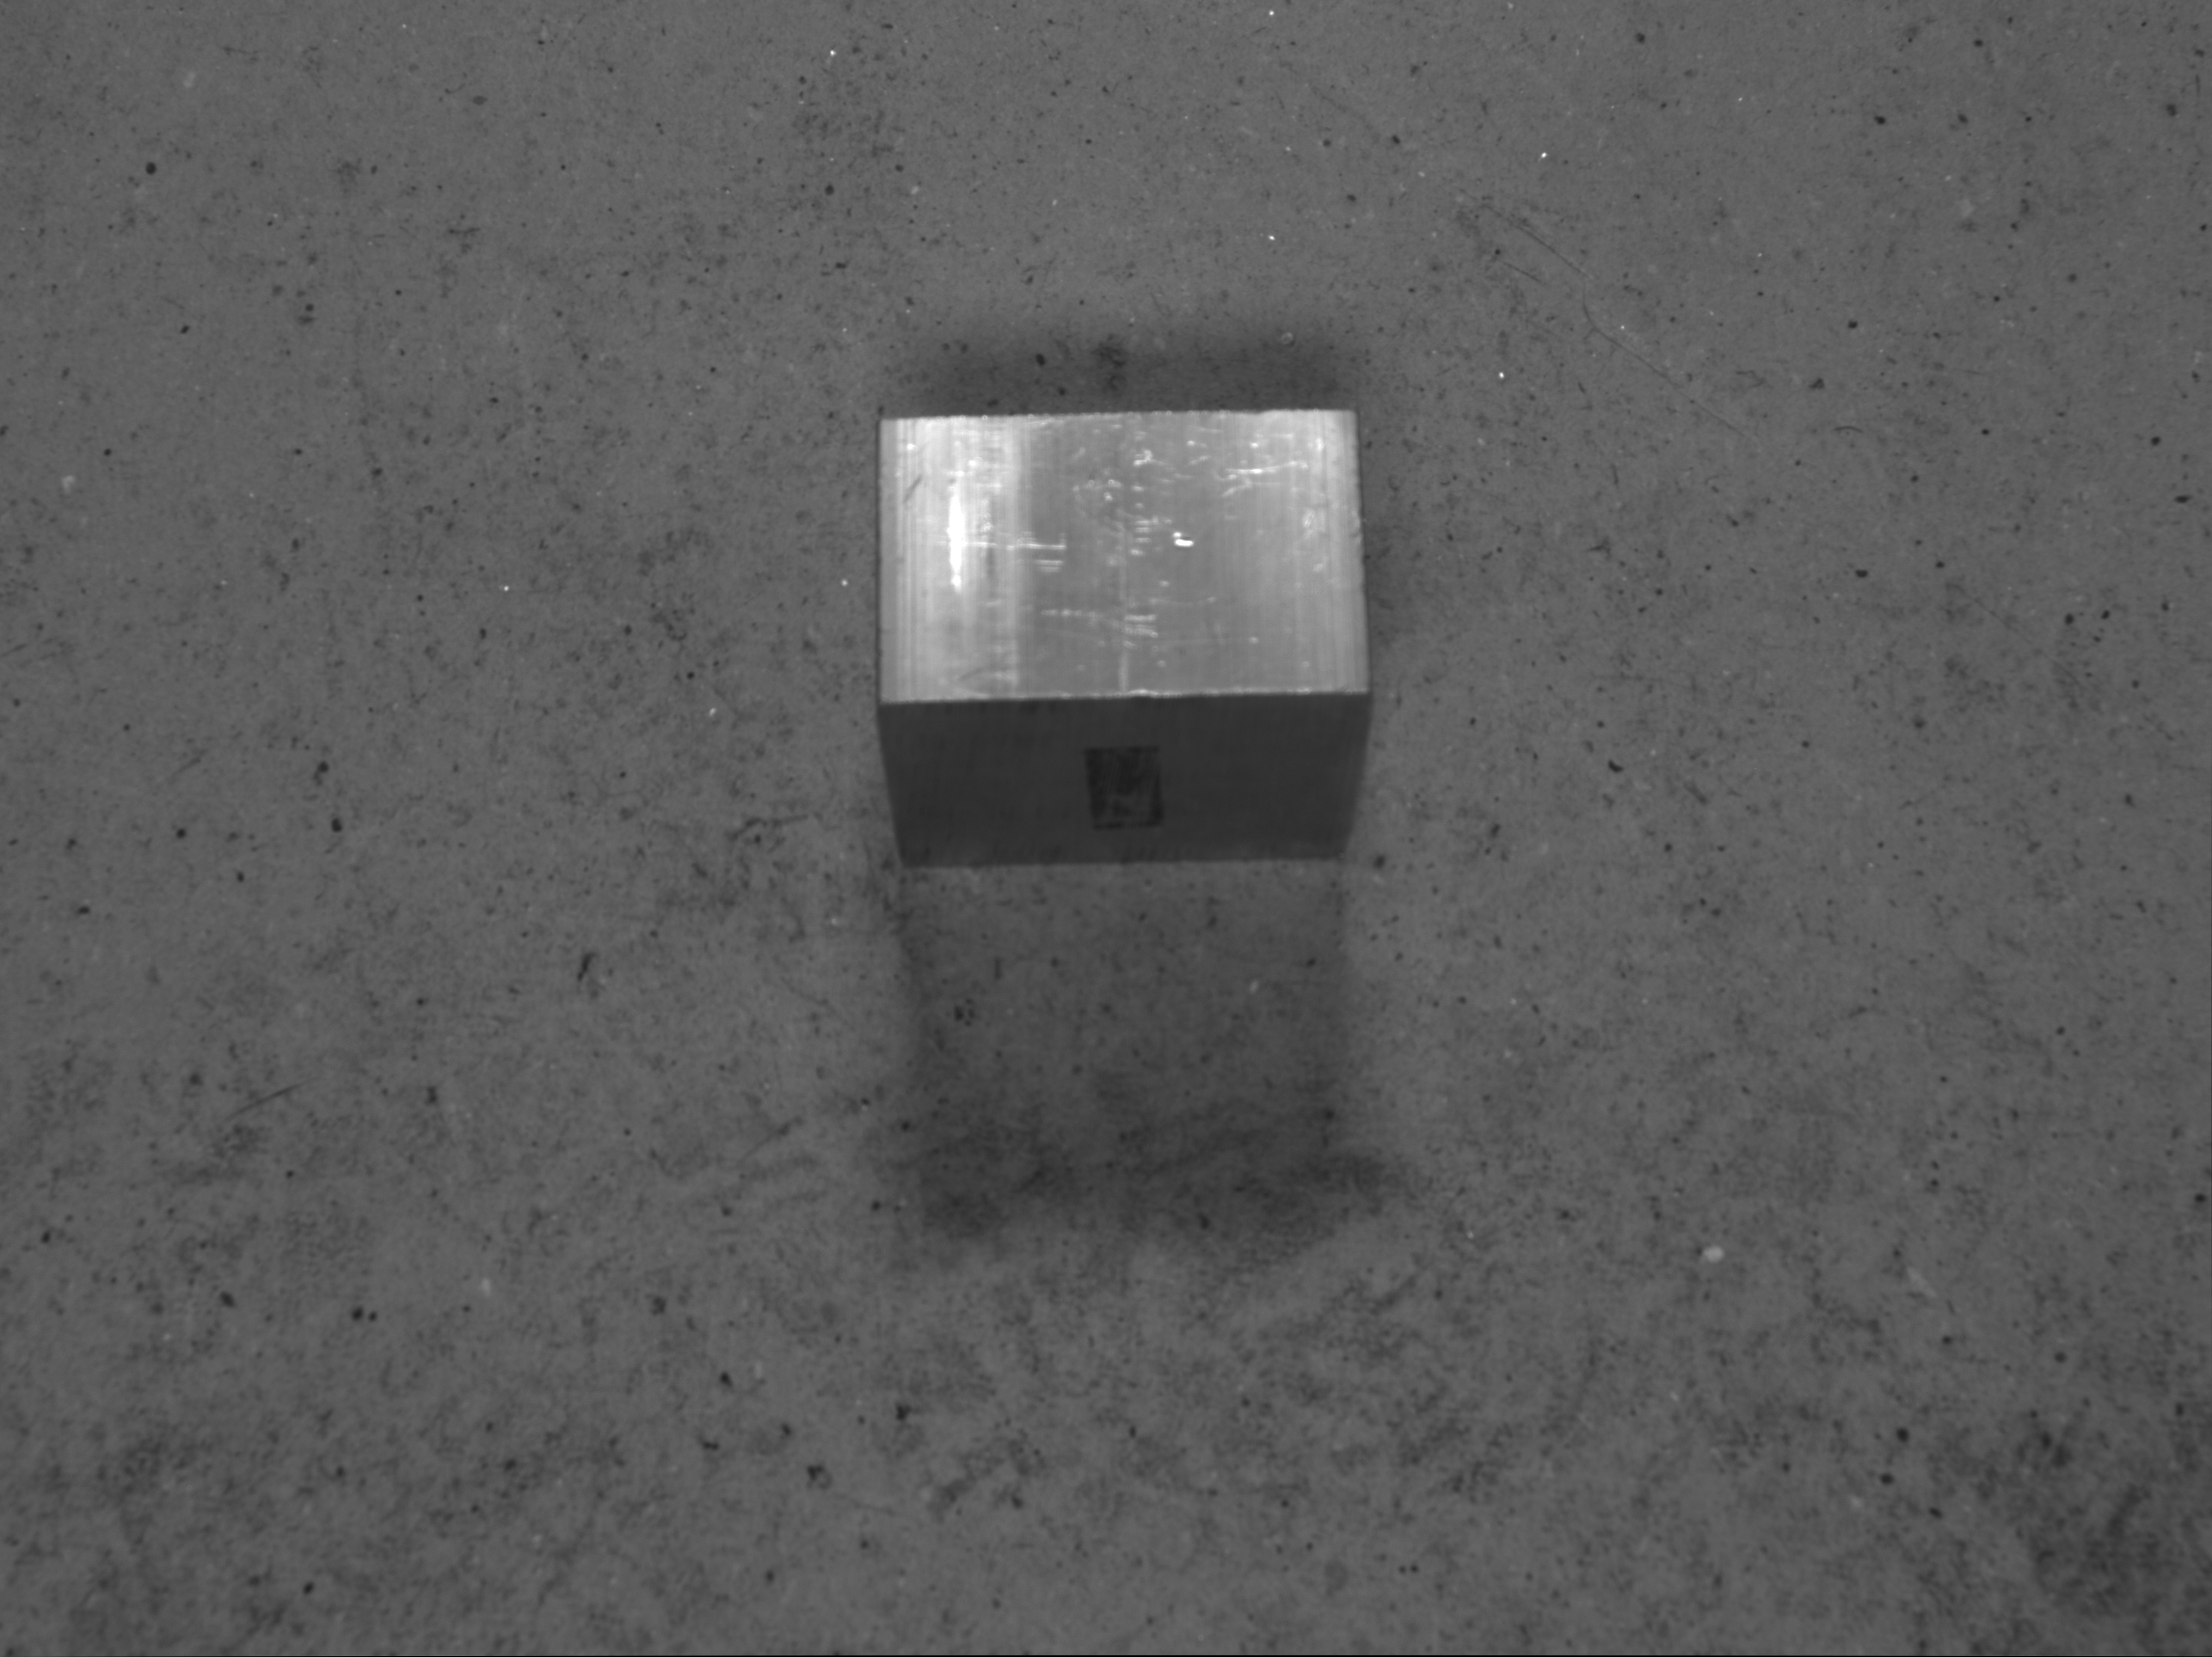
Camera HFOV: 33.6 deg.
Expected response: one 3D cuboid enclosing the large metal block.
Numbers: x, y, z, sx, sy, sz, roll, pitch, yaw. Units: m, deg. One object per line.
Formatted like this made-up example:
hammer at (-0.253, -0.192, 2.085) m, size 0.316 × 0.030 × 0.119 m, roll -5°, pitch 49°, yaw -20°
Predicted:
large metal block at (0.005, -0.030, 0.627) m, size 0.080 × 0.080 × 0.050 m, roll -1°, pitch 70°, yaw 0°
